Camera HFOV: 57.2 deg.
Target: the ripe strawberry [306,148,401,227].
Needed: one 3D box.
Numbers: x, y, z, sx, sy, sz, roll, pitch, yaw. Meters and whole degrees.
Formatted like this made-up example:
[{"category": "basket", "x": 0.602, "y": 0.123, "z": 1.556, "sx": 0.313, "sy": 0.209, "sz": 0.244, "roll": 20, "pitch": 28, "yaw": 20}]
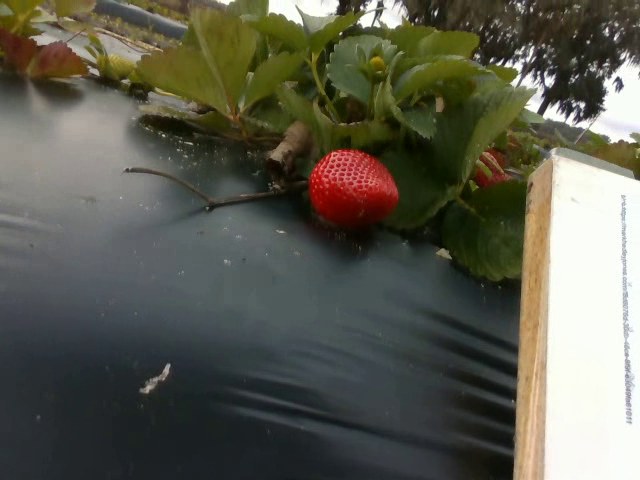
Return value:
[{"category": "ripe strawberry", "x": 0.013, "y": -0.023, "z": 0.227, "sx": 0.037, "sy": 0.037, "sz": 0.046, "roll": -30, "pitch": 27, "yaw": -16}]
